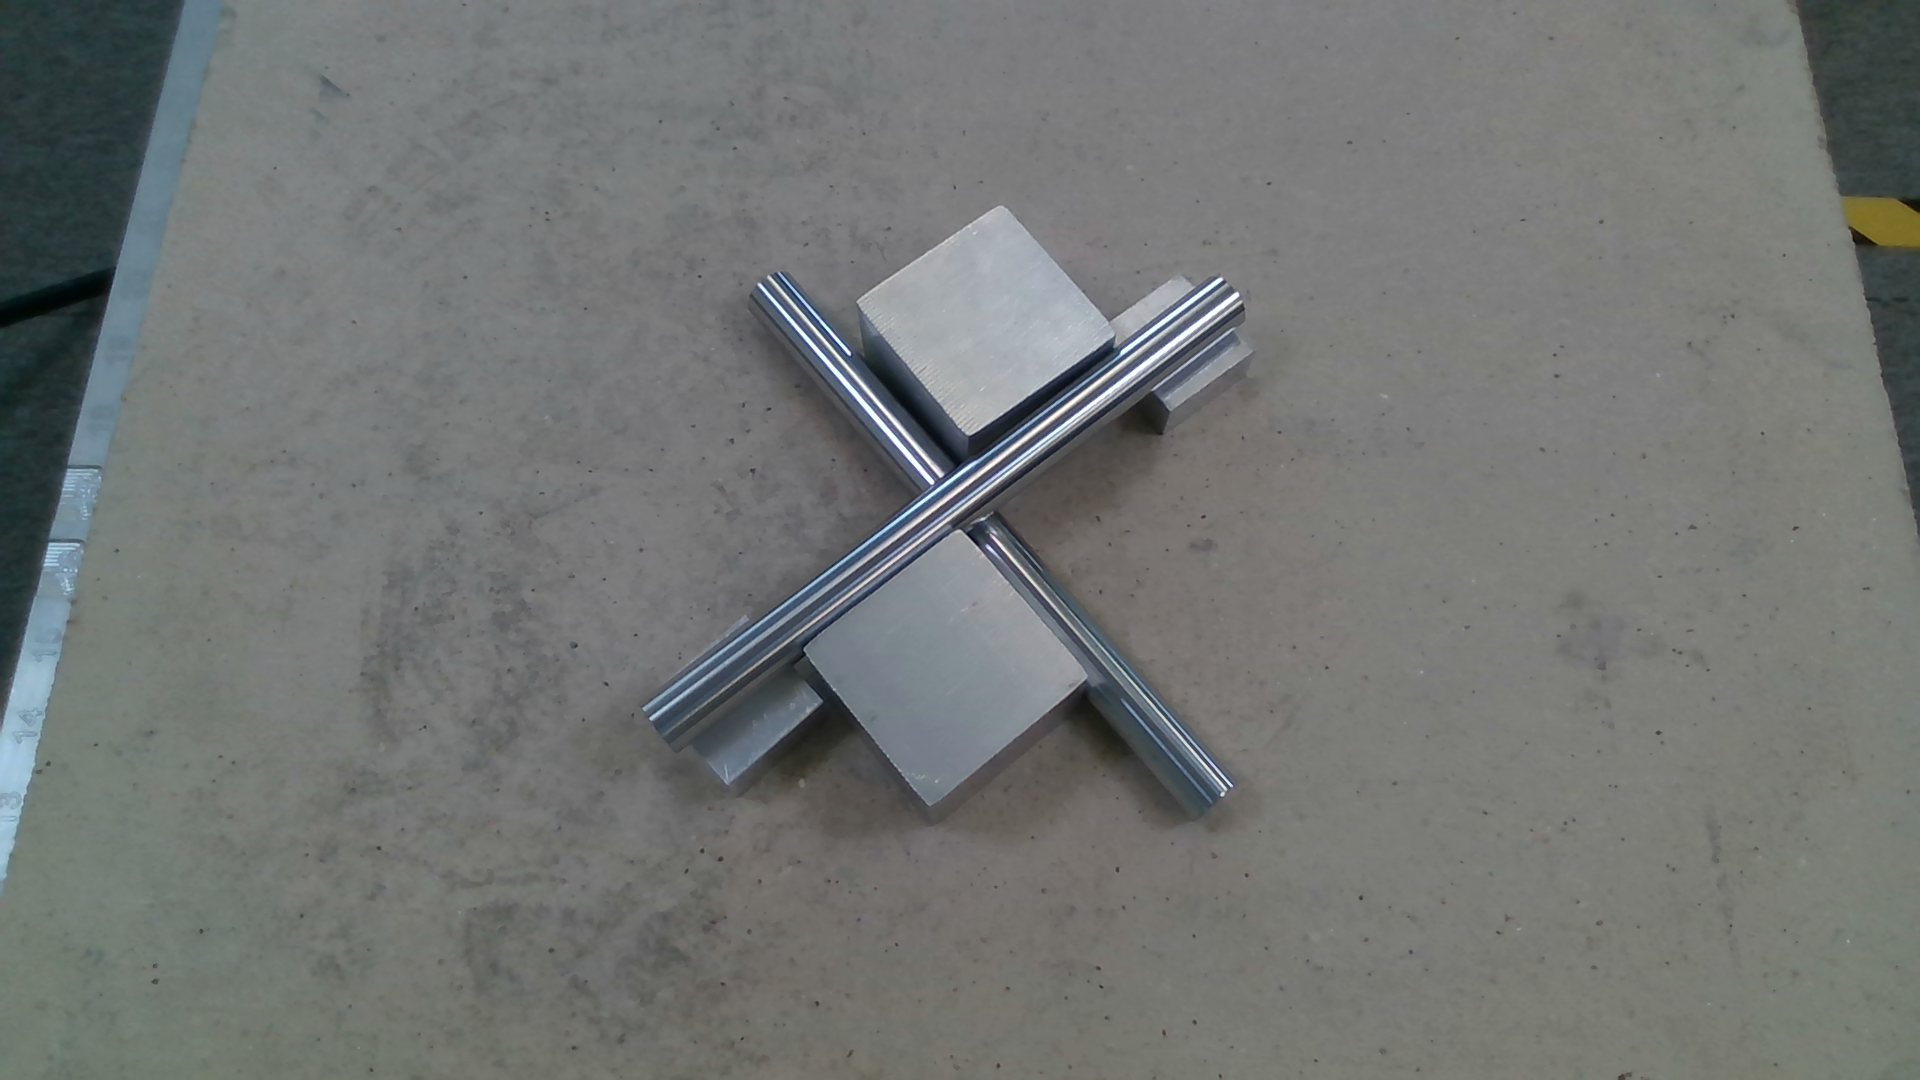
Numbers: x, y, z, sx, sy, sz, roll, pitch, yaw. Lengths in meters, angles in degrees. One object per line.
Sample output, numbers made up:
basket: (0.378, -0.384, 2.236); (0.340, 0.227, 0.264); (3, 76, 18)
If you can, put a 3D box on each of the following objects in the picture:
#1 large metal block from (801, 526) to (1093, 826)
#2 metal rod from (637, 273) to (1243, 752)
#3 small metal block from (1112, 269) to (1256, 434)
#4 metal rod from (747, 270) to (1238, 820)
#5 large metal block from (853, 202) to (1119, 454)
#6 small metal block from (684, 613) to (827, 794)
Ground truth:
large metal block: (-0.005, 0.056, 0.555); (0.080, 0.050, 0.080); (-38, 75, -12)
metal rod: (-0.002, -0.016, 0.567); (0.300, 0.025, 0.025); (-38, 74, -12)
small metal block: (0.096, -0.085, 0.620); (0.050, 0.025, 0.050); (-36, 74, -12)
metal rod: (0.007, -0.005, 0.591); (0.025, 0.025, 0.300); (-38, 75, -12)
large metal block: (0.011, -0.086, 0.604); (0.080, 0.050, 0.080); (-36, 74, -12)
small metal block: (-0.090, 0.067, 0.565); (0.050, 0.025, 0.050); (-42, 75, -13)
